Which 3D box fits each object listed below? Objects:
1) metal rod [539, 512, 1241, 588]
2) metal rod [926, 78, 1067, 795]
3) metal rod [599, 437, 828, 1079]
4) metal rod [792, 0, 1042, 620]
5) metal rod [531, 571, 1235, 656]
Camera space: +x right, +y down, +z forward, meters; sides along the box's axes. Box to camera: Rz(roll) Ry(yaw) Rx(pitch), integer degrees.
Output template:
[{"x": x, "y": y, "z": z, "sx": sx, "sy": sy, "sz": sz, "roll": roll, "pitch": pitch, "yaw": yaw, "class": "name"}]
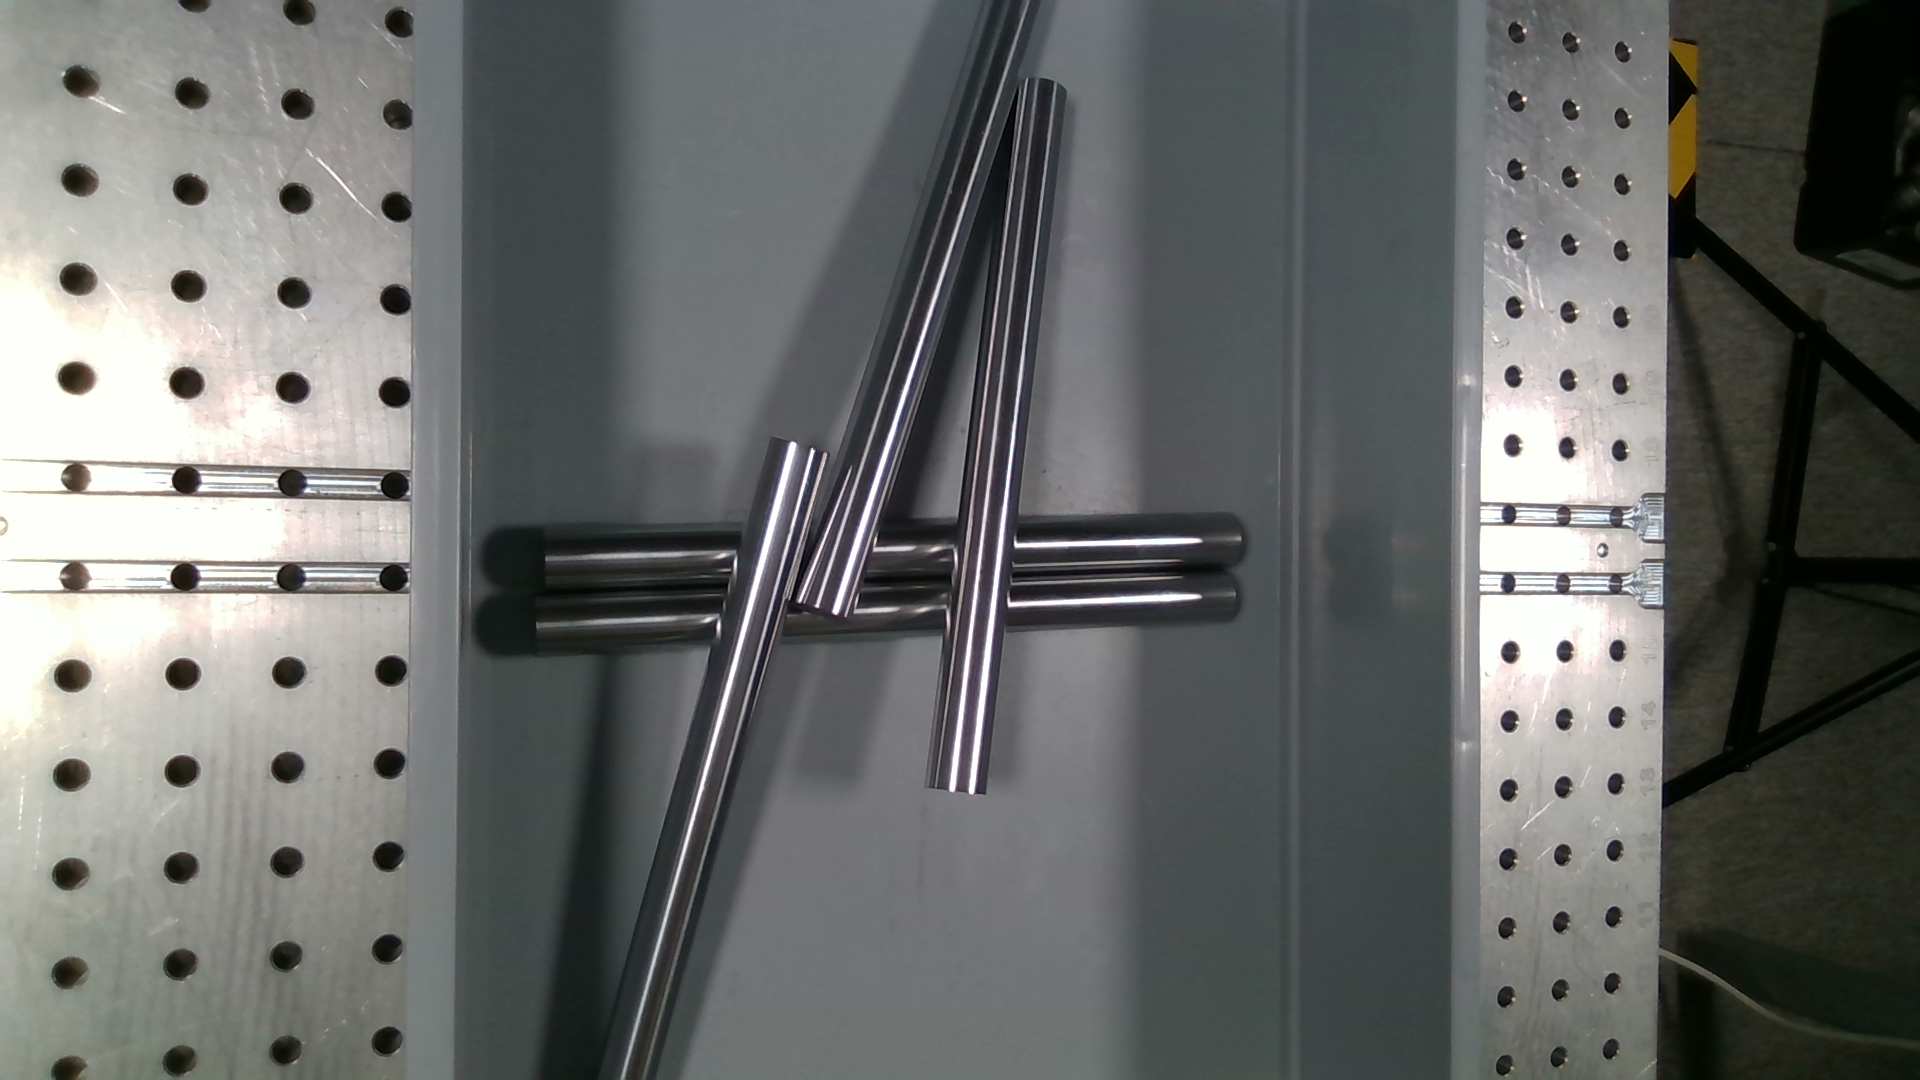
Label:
[{"x": -0.019, "y": 0.003, "z": 0.576, "sx": 0.300, "sy": 0.025, "sz": 0.025, "roll": -1, "pitch": 91, "yaw": -20, "class": "metal rod"}, {"x": 0.016, "y": -0.047, "z": 0.570, "sx": 0.025, "sy": 0.025, "sz": 0.300, "roll": 11, "pitch": 79, "yaw": -20, "class": "metal rod"}, {"x": -0.100, "y": 0.109, "z": 0.530, "sx": 0.025, "sy": 0.025, "sz": 0.300, "roll": 14, "pitch": 91, "yaw": -20, "class": "metal rod"}, {"x": -0.013, "y": -0.113, "z": 0.566, "sx": 0.025, "sy": 0.025, "sz": 0.300, "roll": 20, "pitch": 78, "yaw": -19, "class": "metal rod"}, {"x": -0.022, "y": 0.029, "z": 0.575, "sx": 0.300, "sy": 0.025, "sz": 0.025, "roll": -1, "pitch": 90, "yaw": -20, "class": "metal rod"}]
